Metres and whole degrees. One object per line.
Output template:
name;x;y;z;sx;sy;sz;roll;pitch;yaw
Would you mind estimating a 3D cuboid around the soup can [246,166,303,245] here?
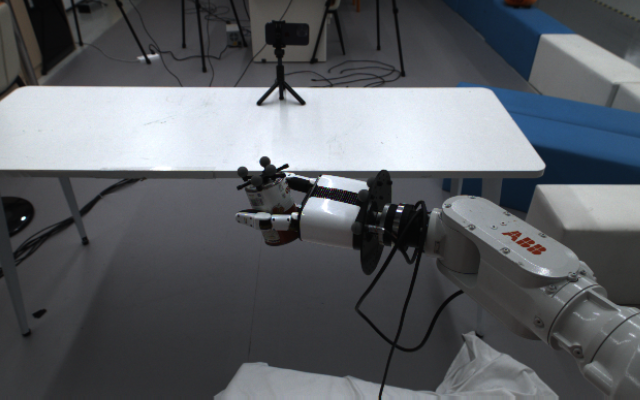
soup can;-0.072;0.014;0.769;0.067;0.101;0.067;-16;23;7
